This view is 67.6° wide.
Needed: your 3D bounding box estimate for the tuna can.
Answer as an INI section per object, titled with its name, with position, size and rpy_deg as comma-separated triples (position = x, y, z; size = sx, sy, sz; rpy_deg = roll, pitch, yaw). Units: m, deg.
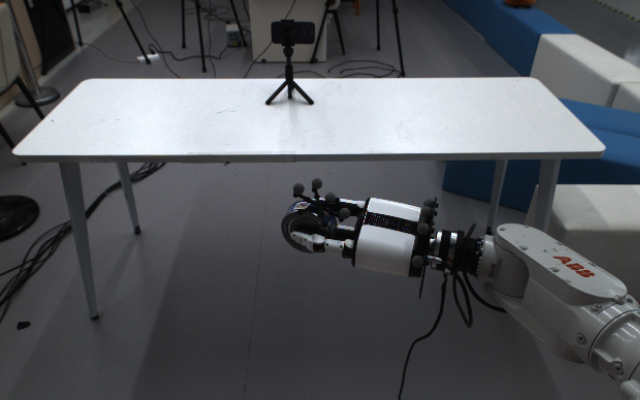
[tuna can]
position = -0.017, 0.043, 0.777
size = 0.085, 0.085, 0.034
rpy_deg = 12, 35, 14
